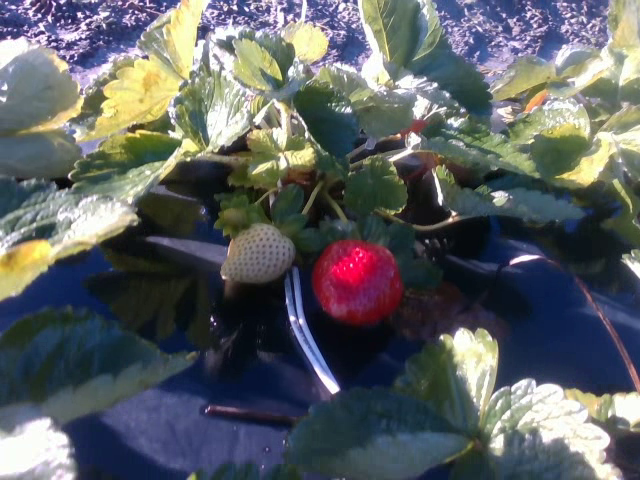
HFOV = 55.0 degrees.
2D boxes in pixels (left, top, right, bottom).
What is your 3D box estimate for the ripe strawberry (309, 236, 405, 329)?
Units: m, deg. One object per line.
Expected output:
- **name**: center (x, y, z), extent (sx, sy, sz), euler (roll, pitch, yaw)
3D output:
- **ripe strawberry**: center (0.023, 0.019, 0.312), extent (0.040, 0.063, 0.080), euler (-43, 0, 24)
